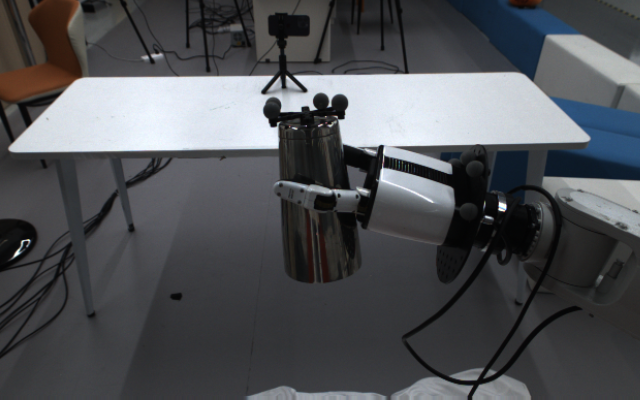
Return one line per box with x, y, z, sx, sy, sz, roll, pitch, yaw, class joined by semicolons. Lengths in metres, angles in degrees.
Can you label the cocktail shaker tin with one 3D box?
-0.004;-0.003;0.544;0.093;0.170;0.093;-6;19;2;cocktail shaker tin
